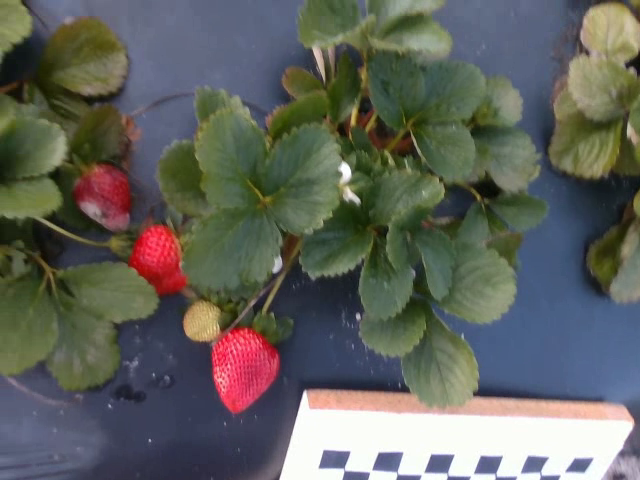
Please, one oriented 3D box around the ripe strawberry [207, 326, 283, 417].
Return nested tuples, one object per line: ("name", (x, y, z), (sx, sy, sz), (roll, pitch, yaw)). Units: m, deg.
("ripe strawberry", (-0.025, 0.041, 0.190), (0.022, 0.025, 0.030), (6, 44, 14))
